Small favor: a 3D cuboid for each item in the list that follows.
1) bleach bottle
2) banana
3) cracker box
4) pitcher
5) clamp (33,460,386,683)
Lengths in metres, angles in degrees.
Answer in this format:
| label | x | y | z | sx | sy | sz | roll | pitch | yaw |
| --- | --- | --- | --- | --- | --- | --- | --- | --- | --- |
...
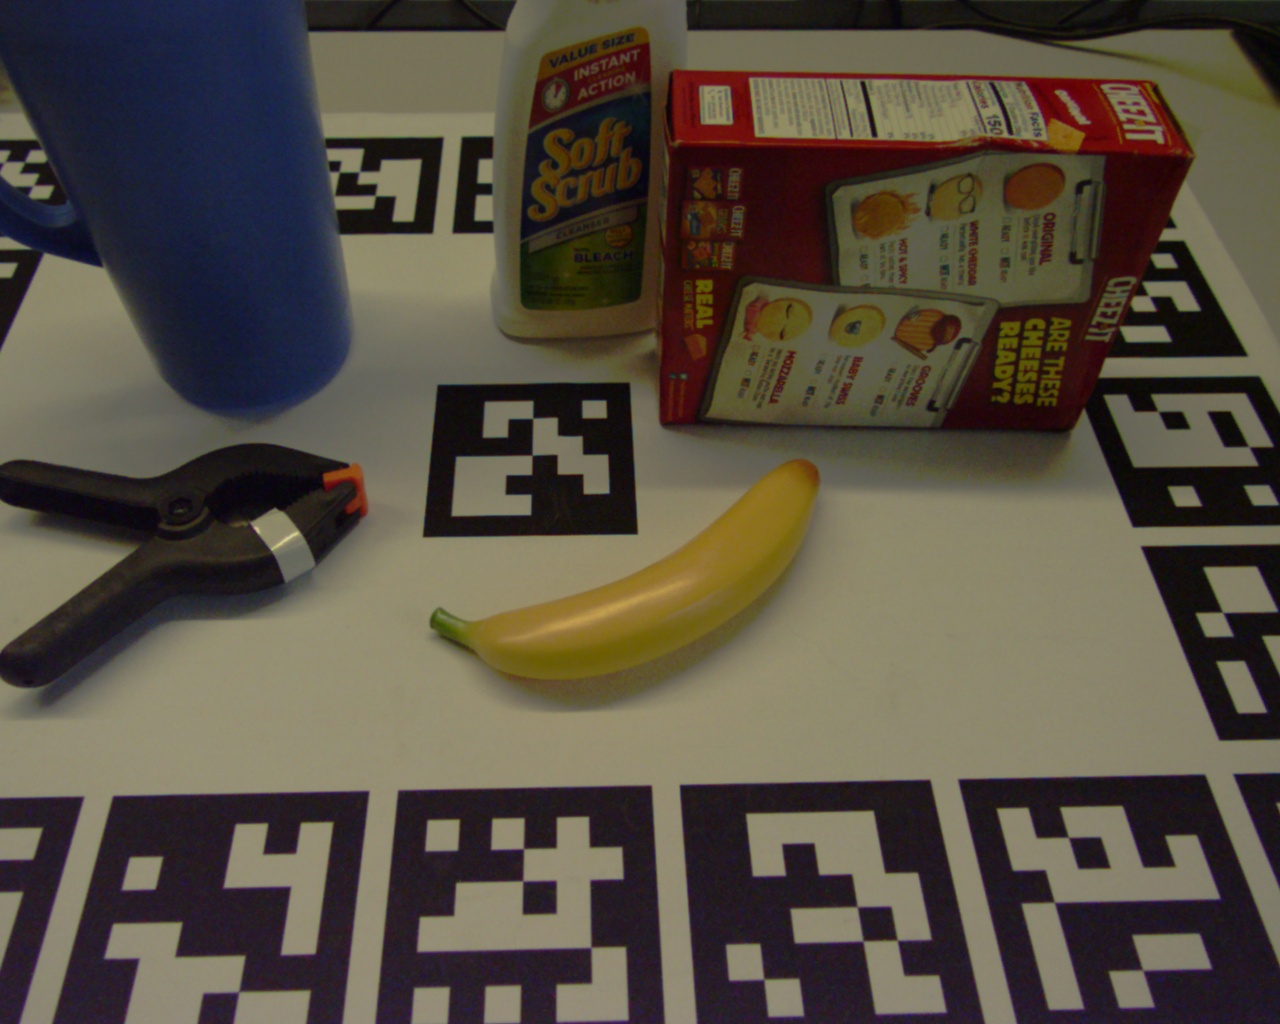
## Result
| label | x | y | z | sx | sy | sz | roll | pitch | yaw |
| --- | --- | --- | --- | --- | --- | --- | --- | --- | --- |
| bleach bottle | -0.039 | -0.191 | 0.596 | 0.102 | 0.250 | 0.068 | -2 | 48 | -3 |
| banana | 0.014 | 0.030 | 0.554 | 0.196 | 0.039 | 0.075 | -30 | 55 | -24 |
| cracker box | 0.119 | -0.121 | 0.573 | 0.213 | 0.163 | 0.072 | -1 | 46 | 0 |
| pitcher | -0.223 | -0.167 | 0.549 | 0.187 | 0.242 | 0.134 | -15 | 50 | -17 |
| clamp | -0.207 | 0.014 | 0.556 | 0.164 | 0.036 | 0.123 | -14 | 49 | -15 |
